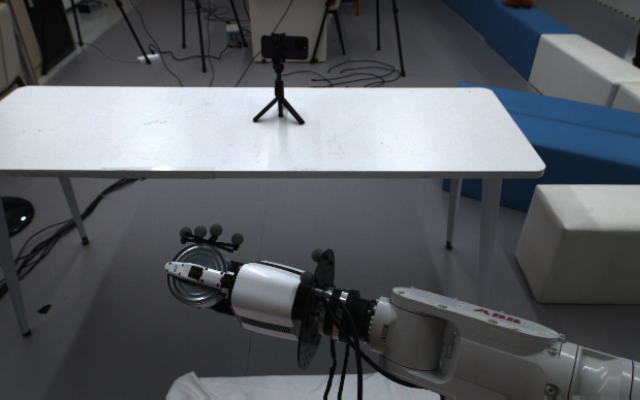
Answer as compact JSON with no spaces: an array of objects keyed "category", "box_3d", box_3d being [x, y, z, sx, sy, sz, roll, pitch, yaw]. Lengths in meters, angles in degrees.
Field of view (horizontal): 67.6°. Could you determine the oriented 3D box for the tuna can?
[{"category":"tuna can","box_3d":[-0.164,0.106,0.673,0.085,0.034,0.085,-3,68,8]}]
